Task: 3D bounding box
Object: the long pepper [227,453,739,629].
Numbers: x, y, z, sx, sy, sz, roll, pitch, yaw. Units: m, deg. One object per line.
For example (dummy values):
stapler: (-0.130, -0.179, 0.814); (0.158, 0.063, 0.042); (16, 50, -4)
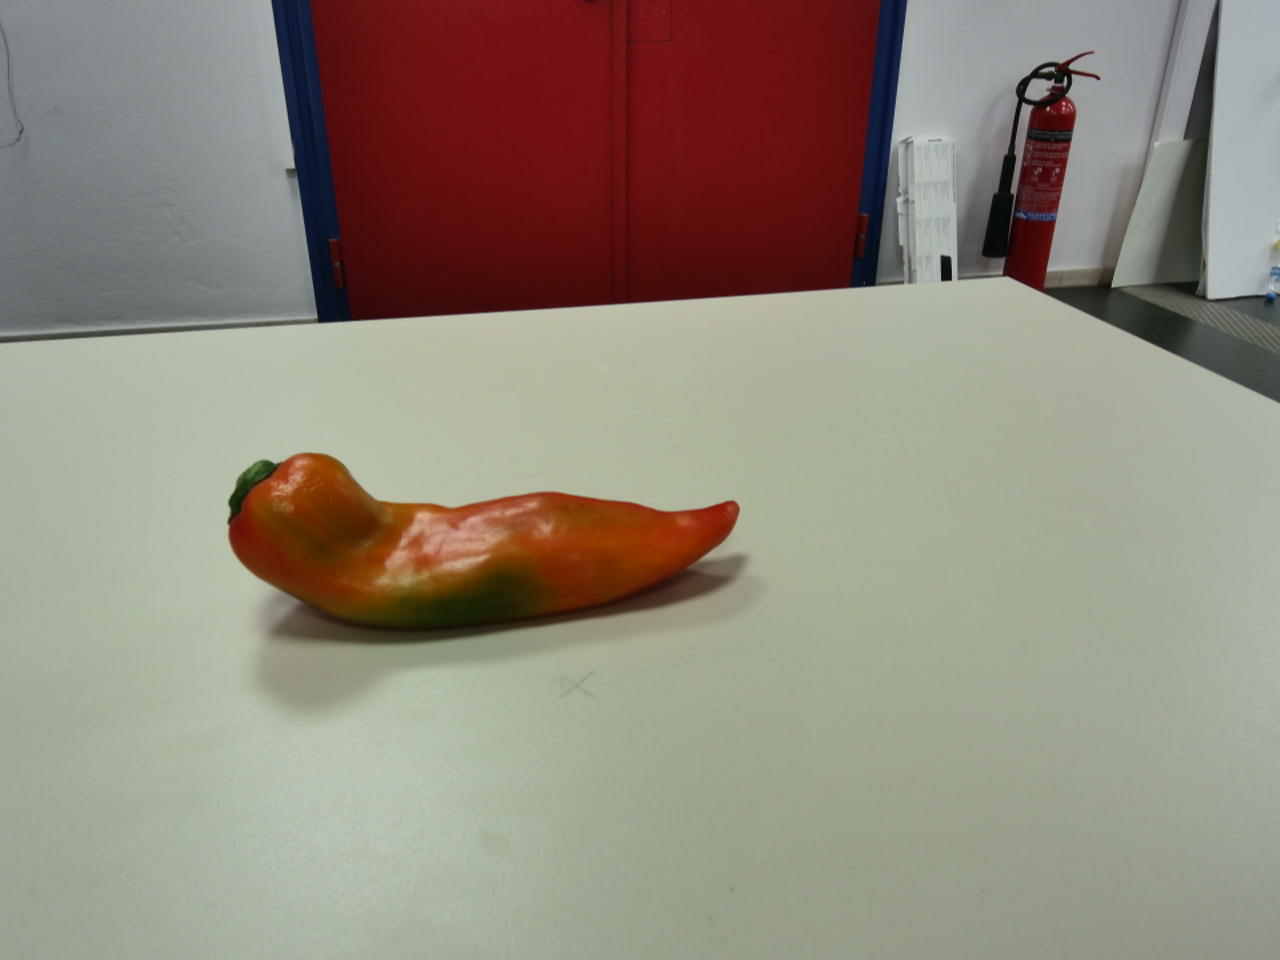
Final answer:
long pepper: (-0.056, 0.016, 0.393); (0.199, 0.065, 0.066); (-4, 25, -8)
